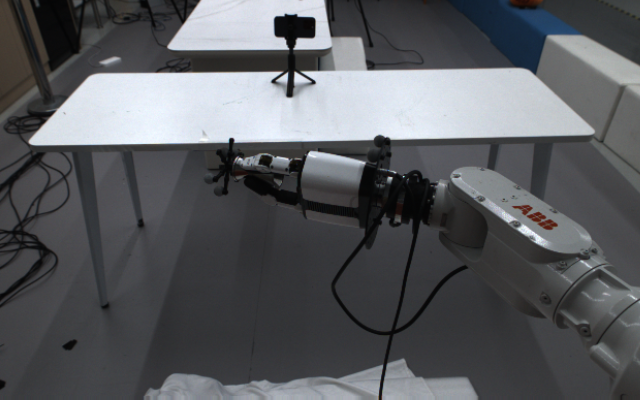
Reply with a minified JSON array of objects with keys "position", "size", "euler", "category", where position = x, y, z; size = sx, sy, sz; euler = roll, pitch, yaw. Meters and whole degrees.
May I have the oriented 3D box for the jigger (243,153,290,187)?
[{"position":[-0.088,-0.048,0.730],"size":[0.071,0.043,0.043],"euler":[10,35,16],"category":"jigger"}]
